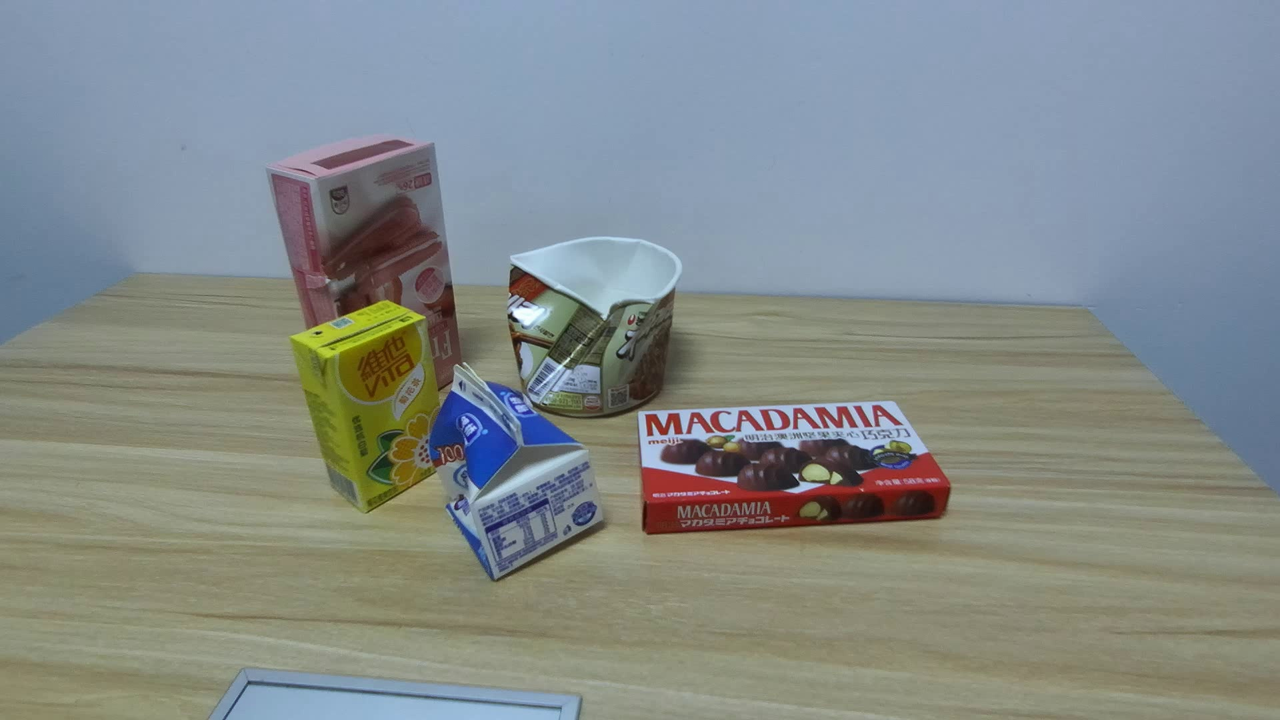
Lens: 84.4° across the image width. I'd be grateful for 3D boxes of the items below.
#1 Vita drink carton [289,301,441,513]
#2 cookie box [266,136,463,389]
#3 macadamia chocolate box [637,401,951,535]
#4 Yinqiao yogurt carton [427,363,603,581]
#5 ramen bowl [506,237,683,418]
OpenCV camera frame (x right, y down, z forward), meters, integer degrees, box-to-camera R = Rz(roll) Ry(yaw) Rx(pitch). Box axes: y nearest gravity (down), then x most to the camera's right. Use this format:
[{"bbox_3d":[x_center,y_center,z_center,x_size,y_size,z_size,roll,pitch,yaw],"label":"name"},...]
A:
[{"bbox_3d":[-0.162,0.027,0.433,0.043,0.109,0.067,22,36,32],"label":"Vita drink carton"},{"bbox_3d":[-0.183,-0.052,0.489,0.048,0.188,0.105,15,33,24],"label":"cookie box"},{"bbox_3d":[0.088,0.064,0.443,0.178,0.027,0.095,-2,28,-2],"label":"macadamia chocolate box"},{"bbox_3d":[-0.074,0.054,0.396,0.071,0.094,0.077,-23,35,-26],"label":"Yinqiao yogurt carton"},{"bbox_3d":[-0.028,-0.027,0.536,0.137,0.098,0.137,2,30,-1],"label":"ramen bowl"}]
